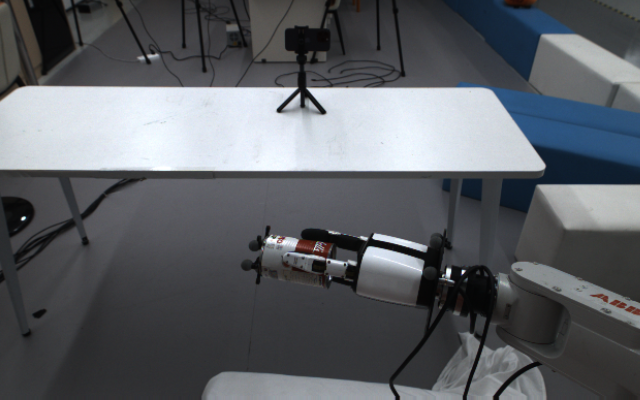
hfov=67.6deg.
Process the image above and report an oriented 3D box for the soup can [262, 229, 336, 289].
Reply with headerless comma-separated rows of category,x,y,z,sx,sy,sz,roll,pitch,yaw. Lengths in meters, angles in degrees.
soup can,-0.030,0.090,0.718,0.101,0.067,0.067,7,35,11
